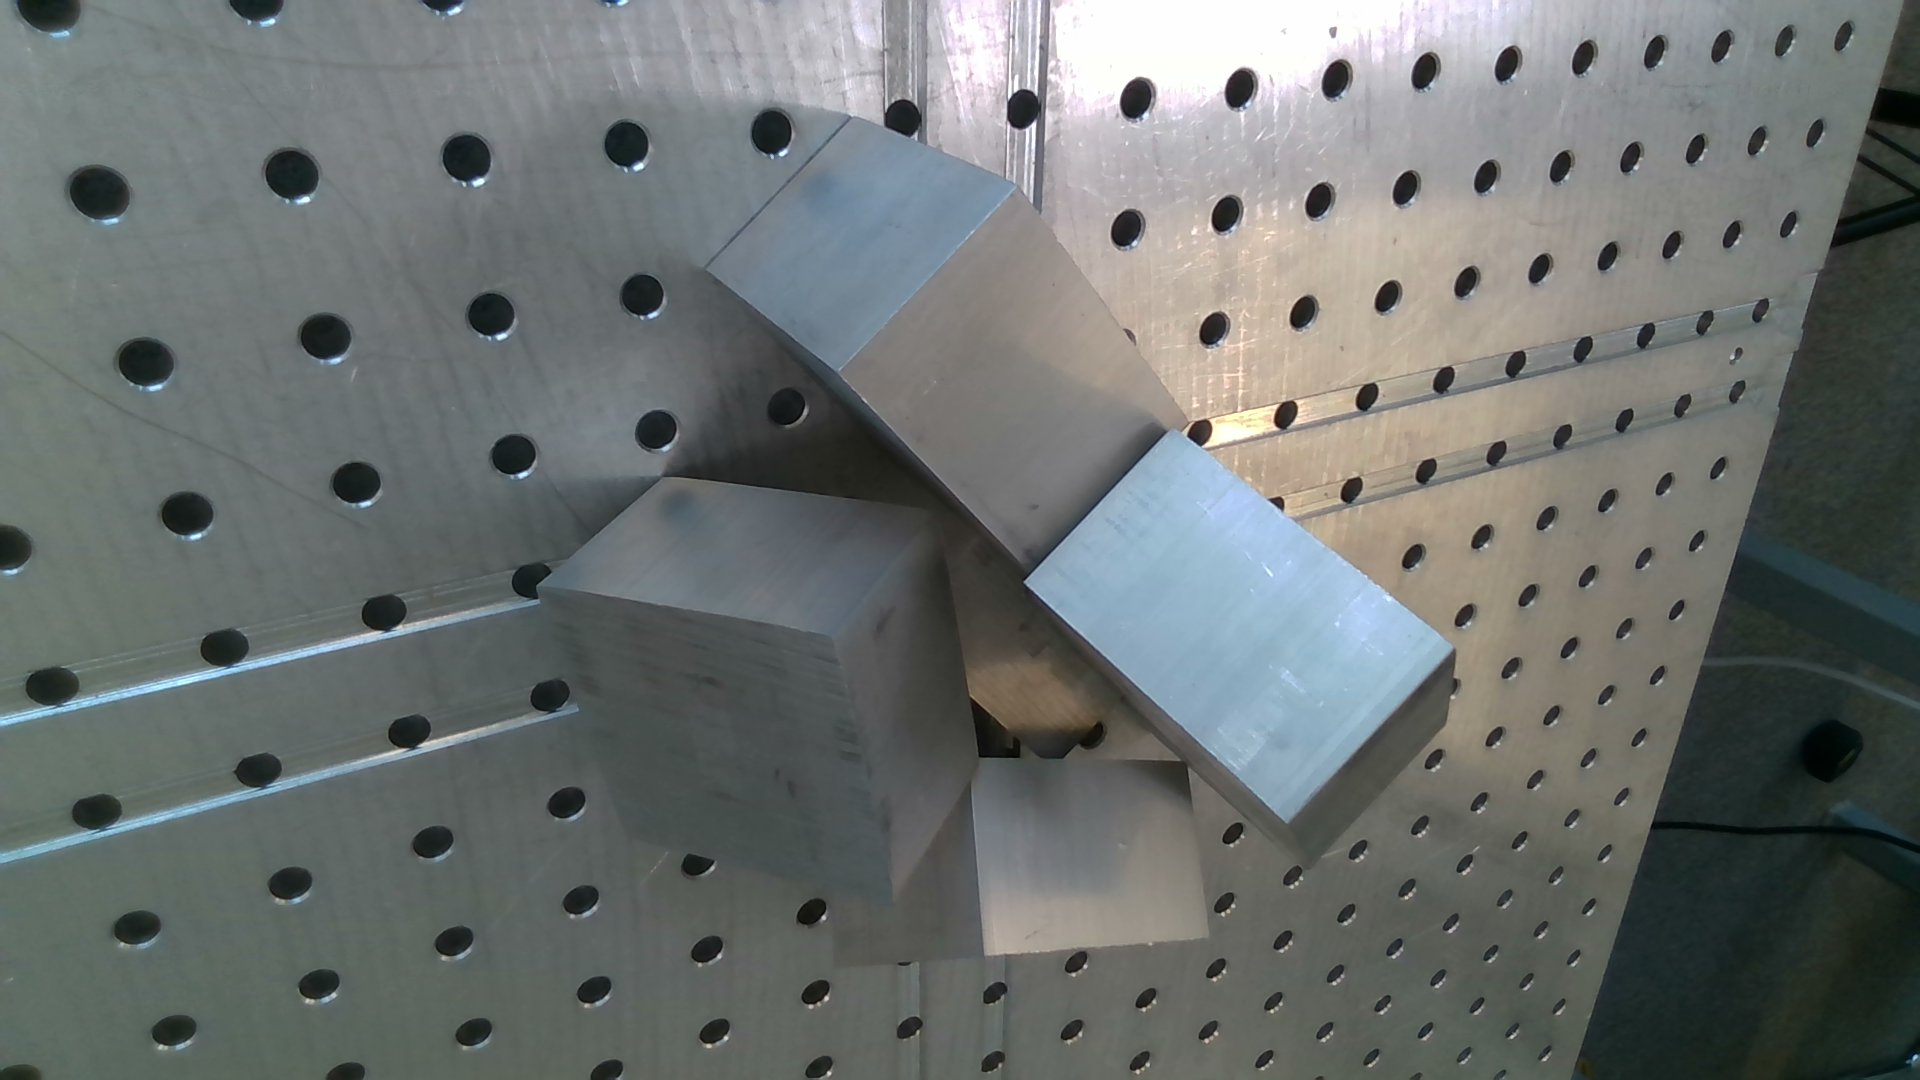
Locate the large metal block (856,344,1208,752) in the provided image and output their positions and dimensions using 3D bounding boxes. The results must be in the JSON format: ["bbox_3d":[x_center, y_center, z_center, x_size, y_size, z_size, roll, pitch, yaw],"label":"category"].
[{"bbox_3d":[0.019,0.004,0.391,0.080,0.050,0.080,-47,129,-1],"label":"large metal block"}]

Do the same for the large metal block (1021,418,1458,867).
[{"bbox_3d":[0.069,0.028,0.333,0.050,0.080,0.080,-46,155,-3],"label":"large metal block"}]

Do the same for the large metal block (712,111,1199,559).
[{"bbox_3d":[-0.002,-0.047,0.328,0.050,0.080,0.080,-46,129,-2],"label":"large metal block"}]

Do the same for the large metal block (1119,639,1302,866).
[{"bbox_3d":[0.081,0.044,0.430,0.050,0.080,0.080,-47,129,-1],"label":"large metal block"}]

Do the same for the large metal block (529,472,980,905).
[{"bbox_3d":[-0.047,0.034,0.337,0.050,0.080,0.080,-52,142,-47],"label":"large metal block"}]

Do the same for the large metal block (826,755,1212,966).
[{"bbox_3d":[0.014,0.095,0.408,0.080,0.080,0.050,7,70,-34],"label":"large metal block"}]
